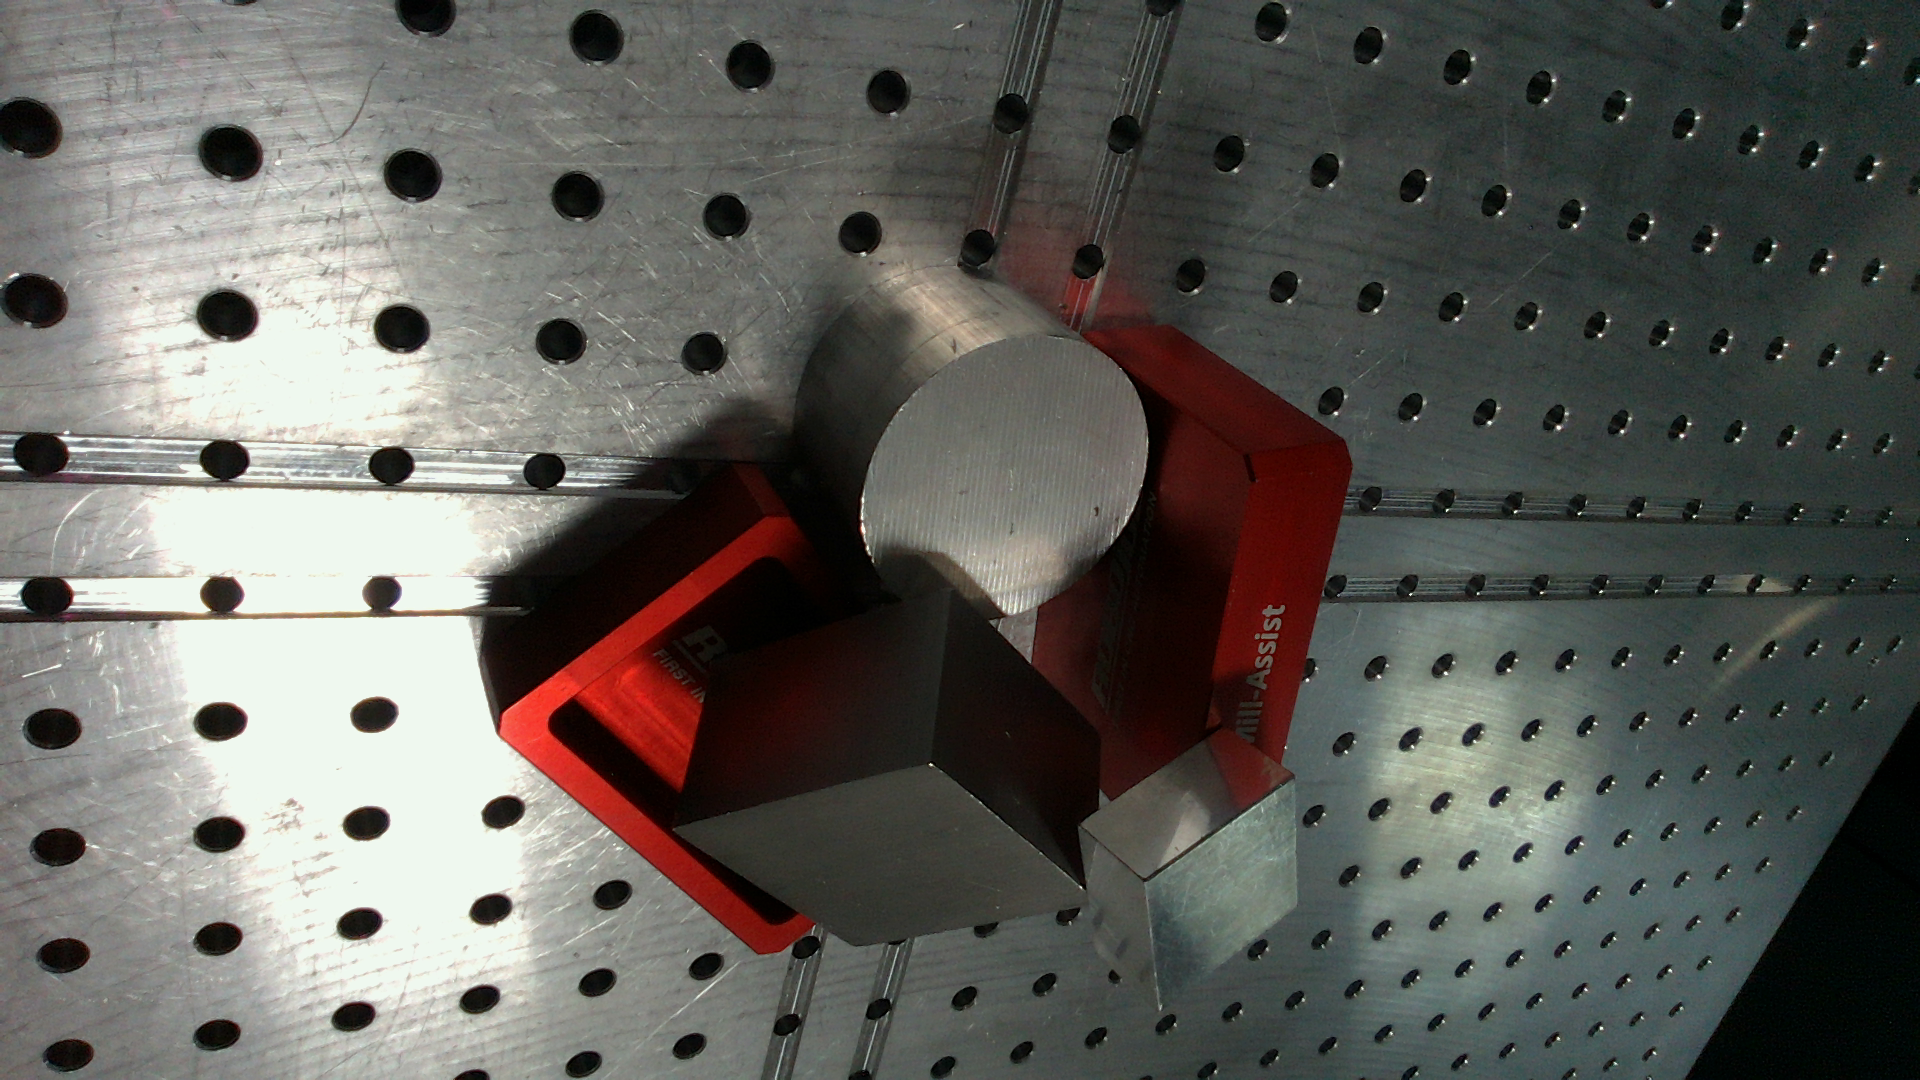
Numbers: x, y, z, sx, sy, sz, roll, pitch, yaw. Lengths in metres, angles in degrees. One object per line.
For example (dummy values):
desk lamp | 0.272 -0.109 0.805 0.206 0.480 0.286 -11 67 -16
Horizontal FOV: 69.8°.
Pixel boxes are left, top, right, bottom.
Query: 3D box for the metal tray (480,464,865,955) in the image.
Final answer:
metal tray | -0.057 0.053 0.389 0.090 0.030 0.130 -37 129 -3

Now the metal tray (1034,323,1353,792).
metal tray | 0.059 0.015 0.391 0.030 0.090 0.130 -9 122 -23

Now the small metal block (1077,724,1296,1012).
small metal block | 0.060 0.084 0.355 0.050 0.025 0.050 -29 129 -24

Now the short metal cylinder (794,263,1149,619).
short metal cylinder | 0.002 -0.026 0.361 0.080 0.050 0.080 -14 124 -21

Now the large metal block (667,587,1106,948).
large metal block | -0.016 0.064 0.367 0.080 0.050 0.080 -18 136 28
